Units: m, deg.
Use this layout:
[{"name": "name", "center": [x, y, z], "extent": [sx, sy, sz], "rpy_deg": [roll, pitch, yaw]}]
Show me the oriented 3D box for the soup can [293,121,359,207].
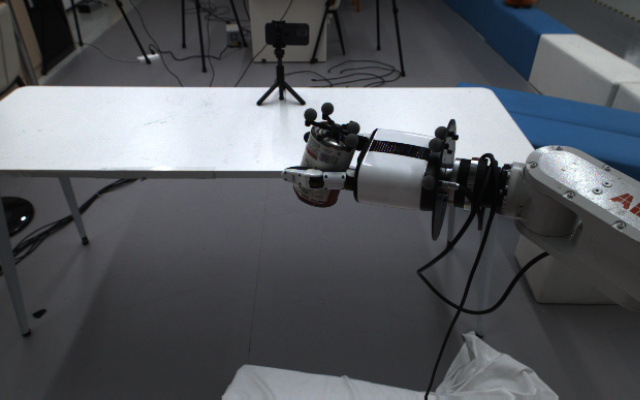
[{"name": "soup can", "center": [0.007, -0.049, 0.679], "extent": [0.067, 0.101, 0.067], "rpy_deg": [13, 35, -9]}]
